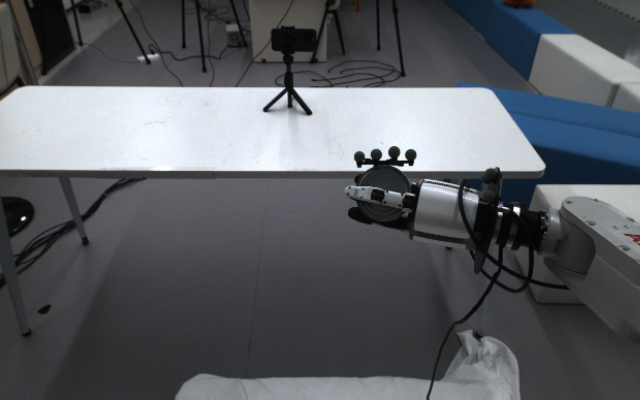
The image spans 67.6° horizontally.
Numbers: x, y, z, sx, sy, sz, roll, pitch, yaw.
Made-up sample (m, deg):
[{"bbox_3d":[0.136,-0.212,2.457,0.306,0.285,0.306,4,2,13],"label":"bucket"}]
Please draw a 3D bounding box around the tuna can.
[{"bbox_3d":[0.100,-0.010,0.742,0.085,0.085,0.034,15,2,18],"label":"tuna can"}]
